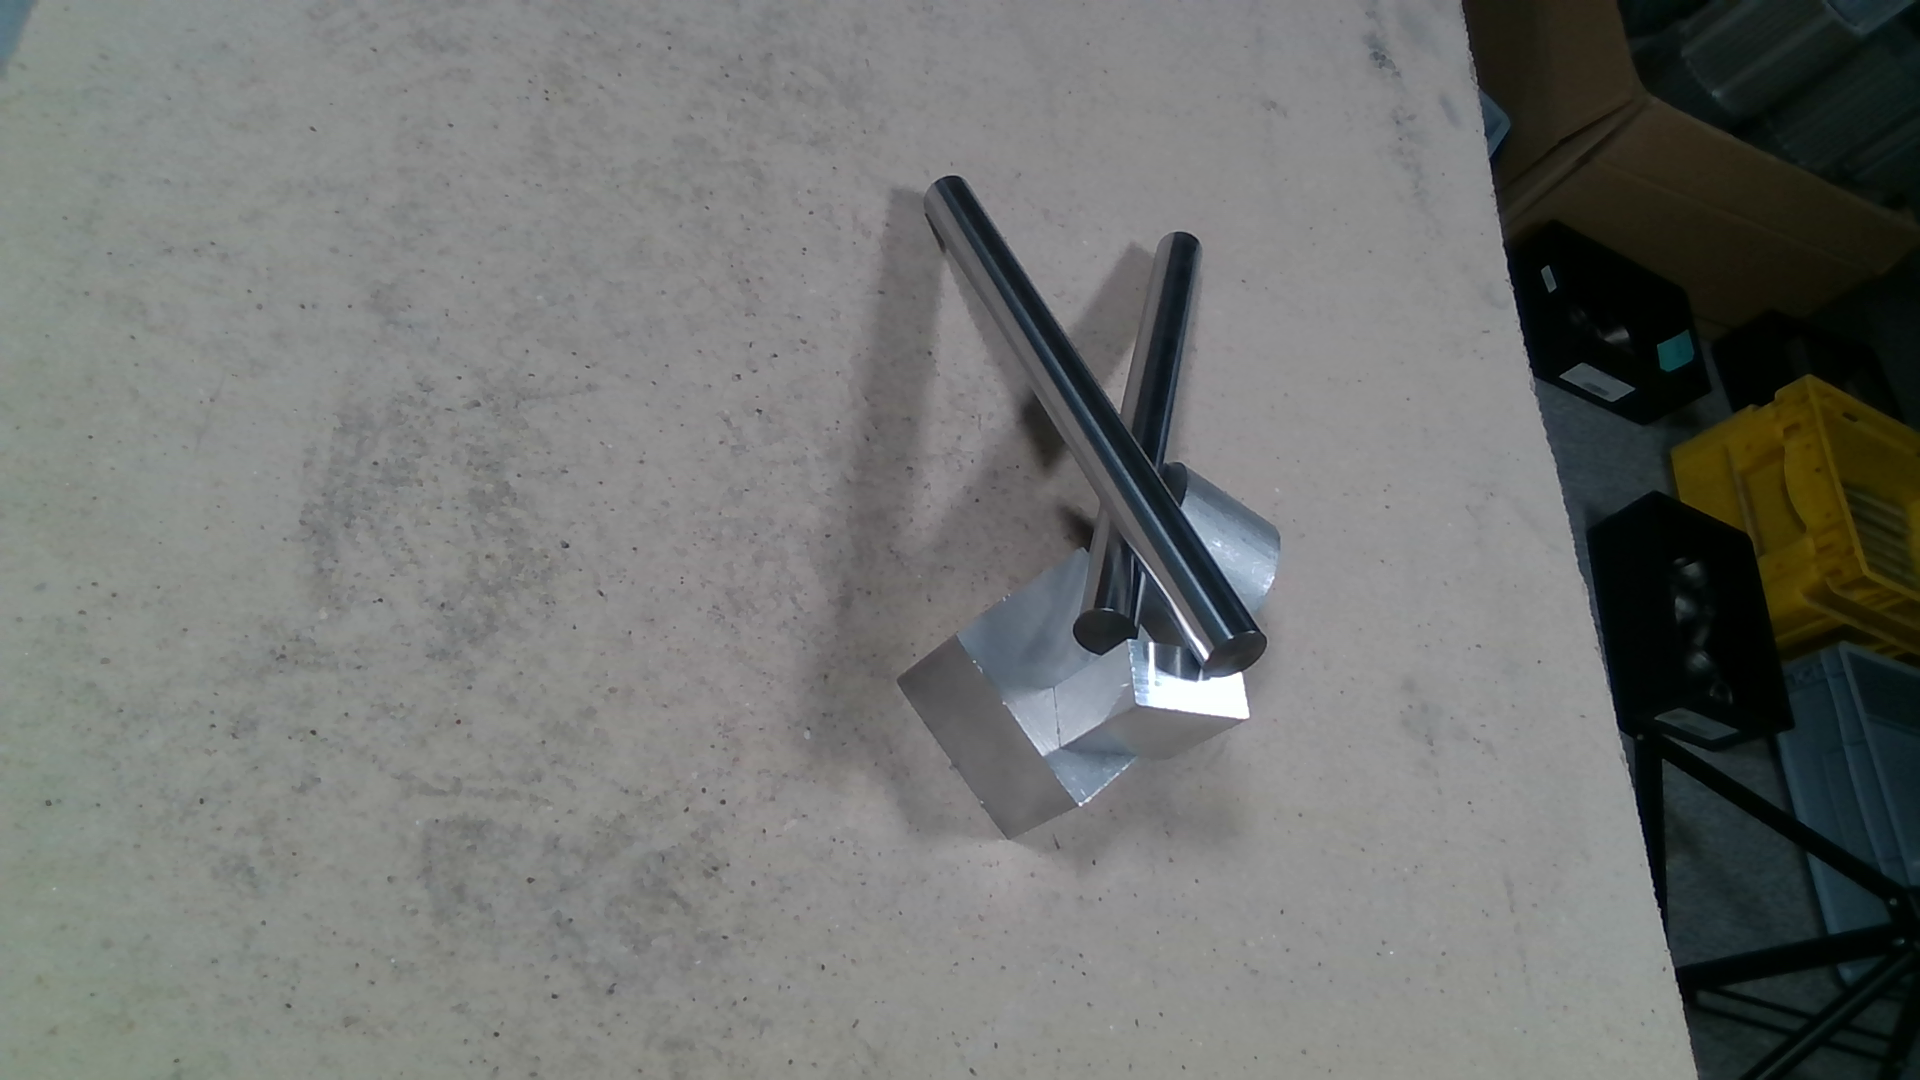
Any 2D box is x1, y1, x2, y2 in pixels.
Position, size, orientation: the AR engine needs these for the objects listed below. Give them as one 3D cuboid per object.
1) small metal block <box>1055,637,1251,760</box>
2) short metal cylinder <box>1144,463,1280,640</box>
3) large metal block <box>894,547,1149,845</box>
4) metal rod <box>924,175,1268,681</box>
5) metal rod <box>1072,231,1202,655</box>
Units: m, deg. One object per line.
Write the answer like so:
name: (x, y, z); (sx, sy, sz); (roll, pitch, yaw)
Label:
small metal block: (0.071, 0.060, 0.513); (0.050, 0.050, 0.025); (10, 60, -27)
short metal cylinder: (0.094, 0.014, 0.603); (0.050, 0.080, 0.080); (32, 53, -13)
large metal block: (0.035, 0.062, 0.557); (0.080, 0.050, 0.080); (-32, 83, -39)
metal rod: (0.046, -0.063, 0.579); (0.025, 0.025, 0.299); (2, 43, -31)
metal rod: (0.087, -0.060, 0.635); (0.025, 0.025, 0.299); (33, 41, -13)
